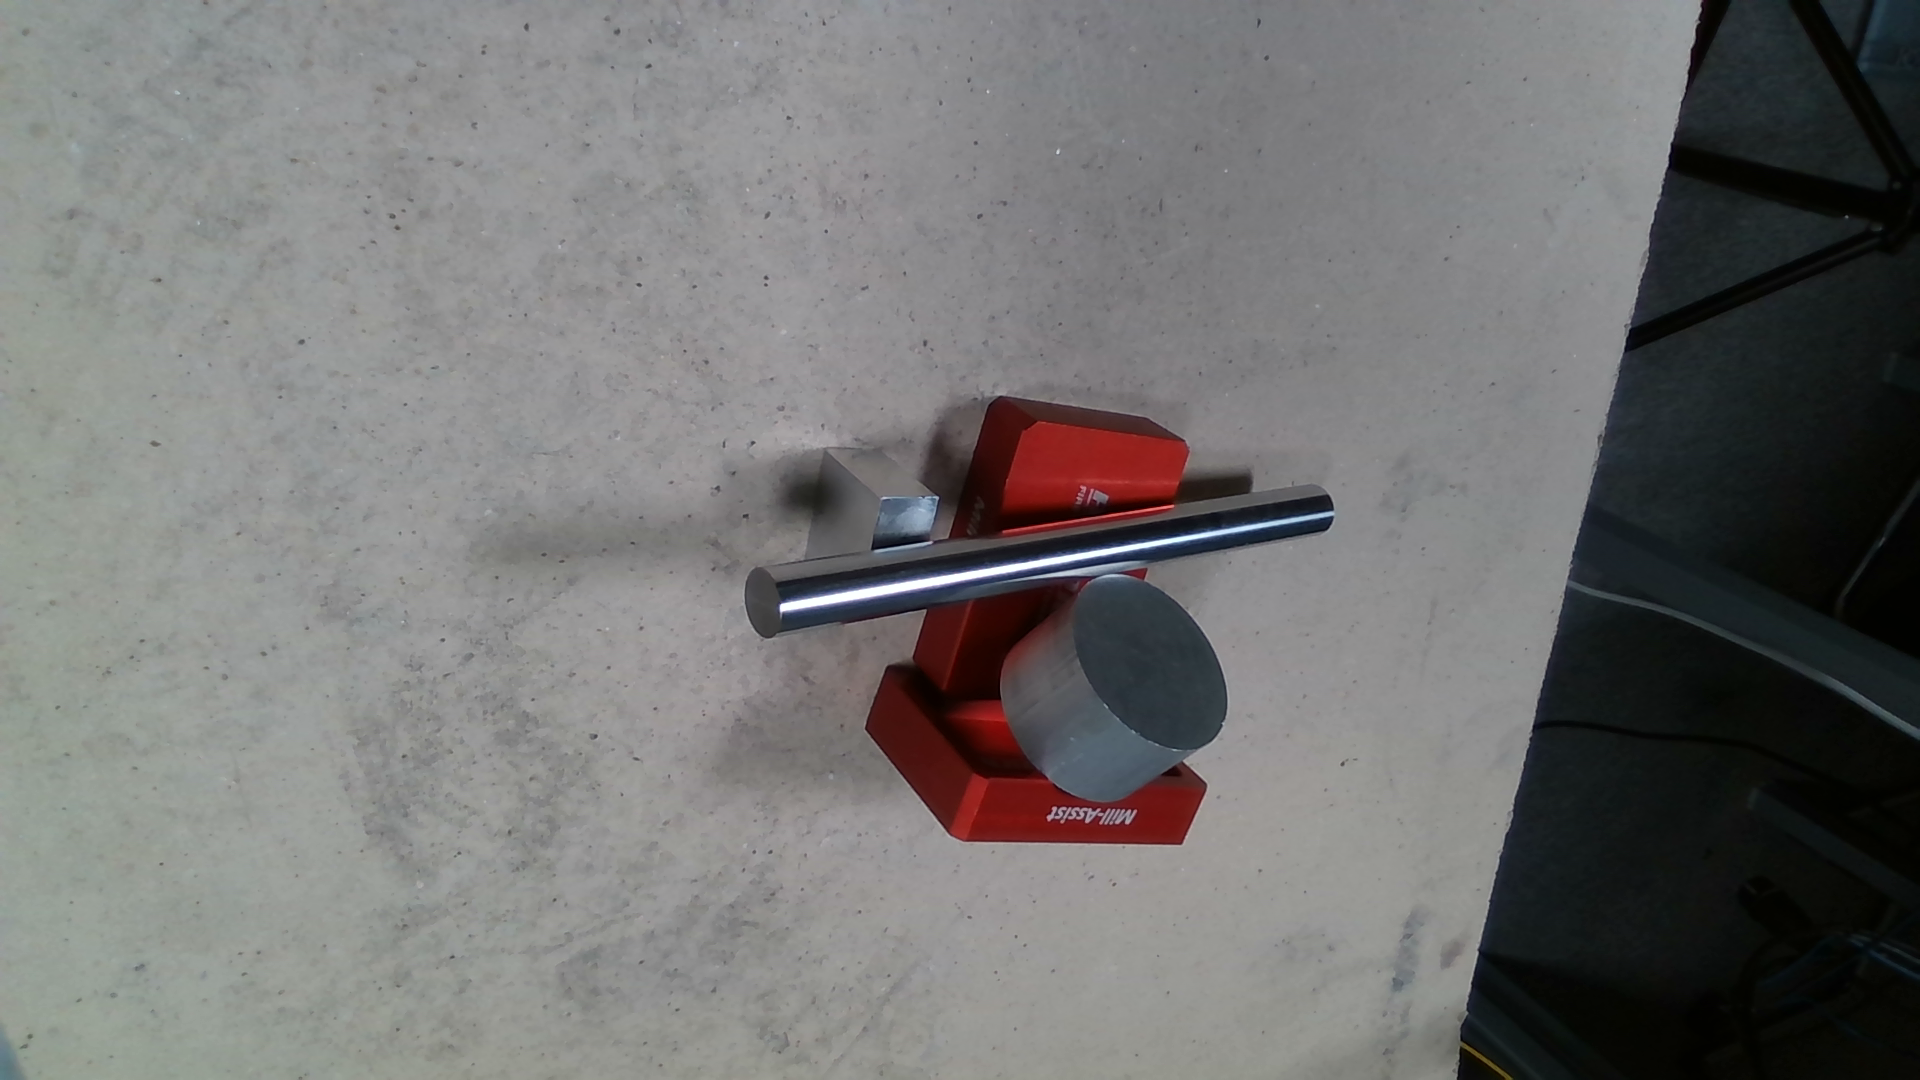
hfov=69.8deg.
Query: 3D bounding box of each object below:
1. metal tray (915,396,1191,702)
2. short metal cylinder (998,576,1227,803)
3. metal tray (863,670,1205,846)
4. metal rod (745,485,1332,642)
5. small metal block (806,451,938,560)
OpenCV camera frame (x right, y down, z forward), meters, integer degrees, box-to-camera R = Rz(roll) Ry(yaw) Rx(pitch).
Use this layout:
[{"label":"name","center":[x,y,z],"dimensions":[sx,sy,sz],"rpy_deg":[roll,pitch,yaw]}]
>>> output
[{"label":"metal tray","center":[0.040,0.007,0.605],"dimensions":[0.090,0.030,0.130],"rpy_deg":[4,113,-33]},{"label":"short metal cylinder","center":[0.063,0.062,0.570],"dimensions":[0.080,0.080,0.050],"rpy_deg":[10,142,-35]},{"label":"metal tray","center":[0.033,0.097,0.612],"dimensions":[0.130,0.090,0.030],"rpy_deg":[9,109,-35]},{"label":"metal rod","center":[0.050,0.004,0.563],"dimensions":[0.300,0.025,0.025],"rpy_deg":[-9,119,-38]},{"label":"small metal block","center":[-0.036,-0.004,0.541],"dimensions":[0.025,0.050,0.050],"rpy_deg":[-2,116,-31]}]
